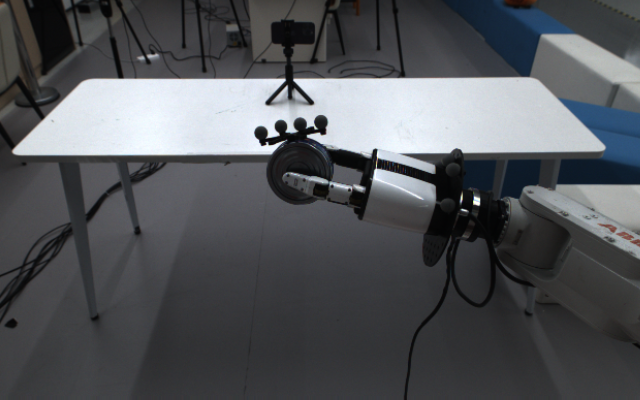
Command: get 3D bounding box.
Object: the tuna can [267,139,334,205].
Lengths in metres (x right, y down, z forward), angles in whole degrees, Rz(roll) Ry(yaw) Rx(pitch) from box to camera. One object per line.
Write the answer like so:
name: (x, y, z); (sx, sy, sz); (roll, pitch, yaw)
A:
tuna can: (-0.022, -0.032, 0.632); (0.085, 0.085, 0.034); (6, 18, 5)
